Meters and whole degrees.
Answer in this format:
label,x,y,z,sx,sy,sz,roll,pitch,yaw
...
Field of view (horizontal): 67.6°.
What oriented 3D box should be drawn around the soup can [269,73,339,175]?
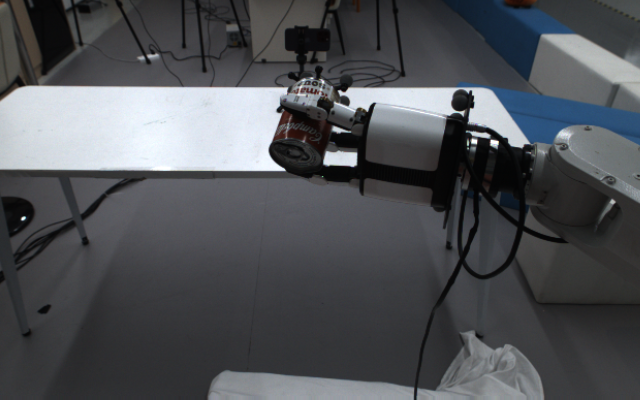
label,x,y,z,sx,sy,sz,roll,pitch,yaw
soup can,-0.016,-0.094,0.602,0.067,0.067,0.101,9,60,10
